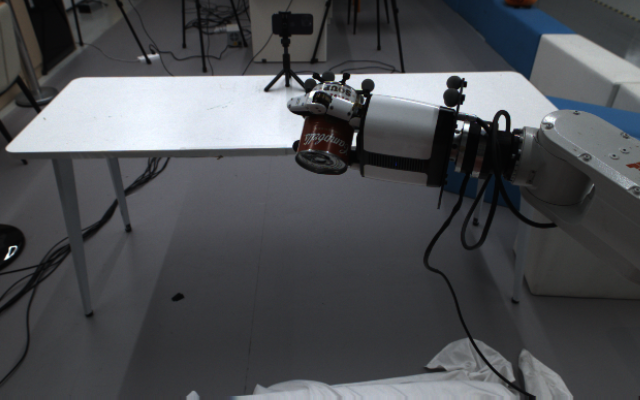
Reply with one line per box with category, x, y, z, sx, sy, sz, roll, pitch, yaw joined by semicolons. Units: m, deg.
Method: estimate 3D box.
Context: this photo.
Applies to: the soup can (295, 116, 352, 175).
soup can;0.012;-0.091;0.621;0.067;0.067;0.101;9;71;9
